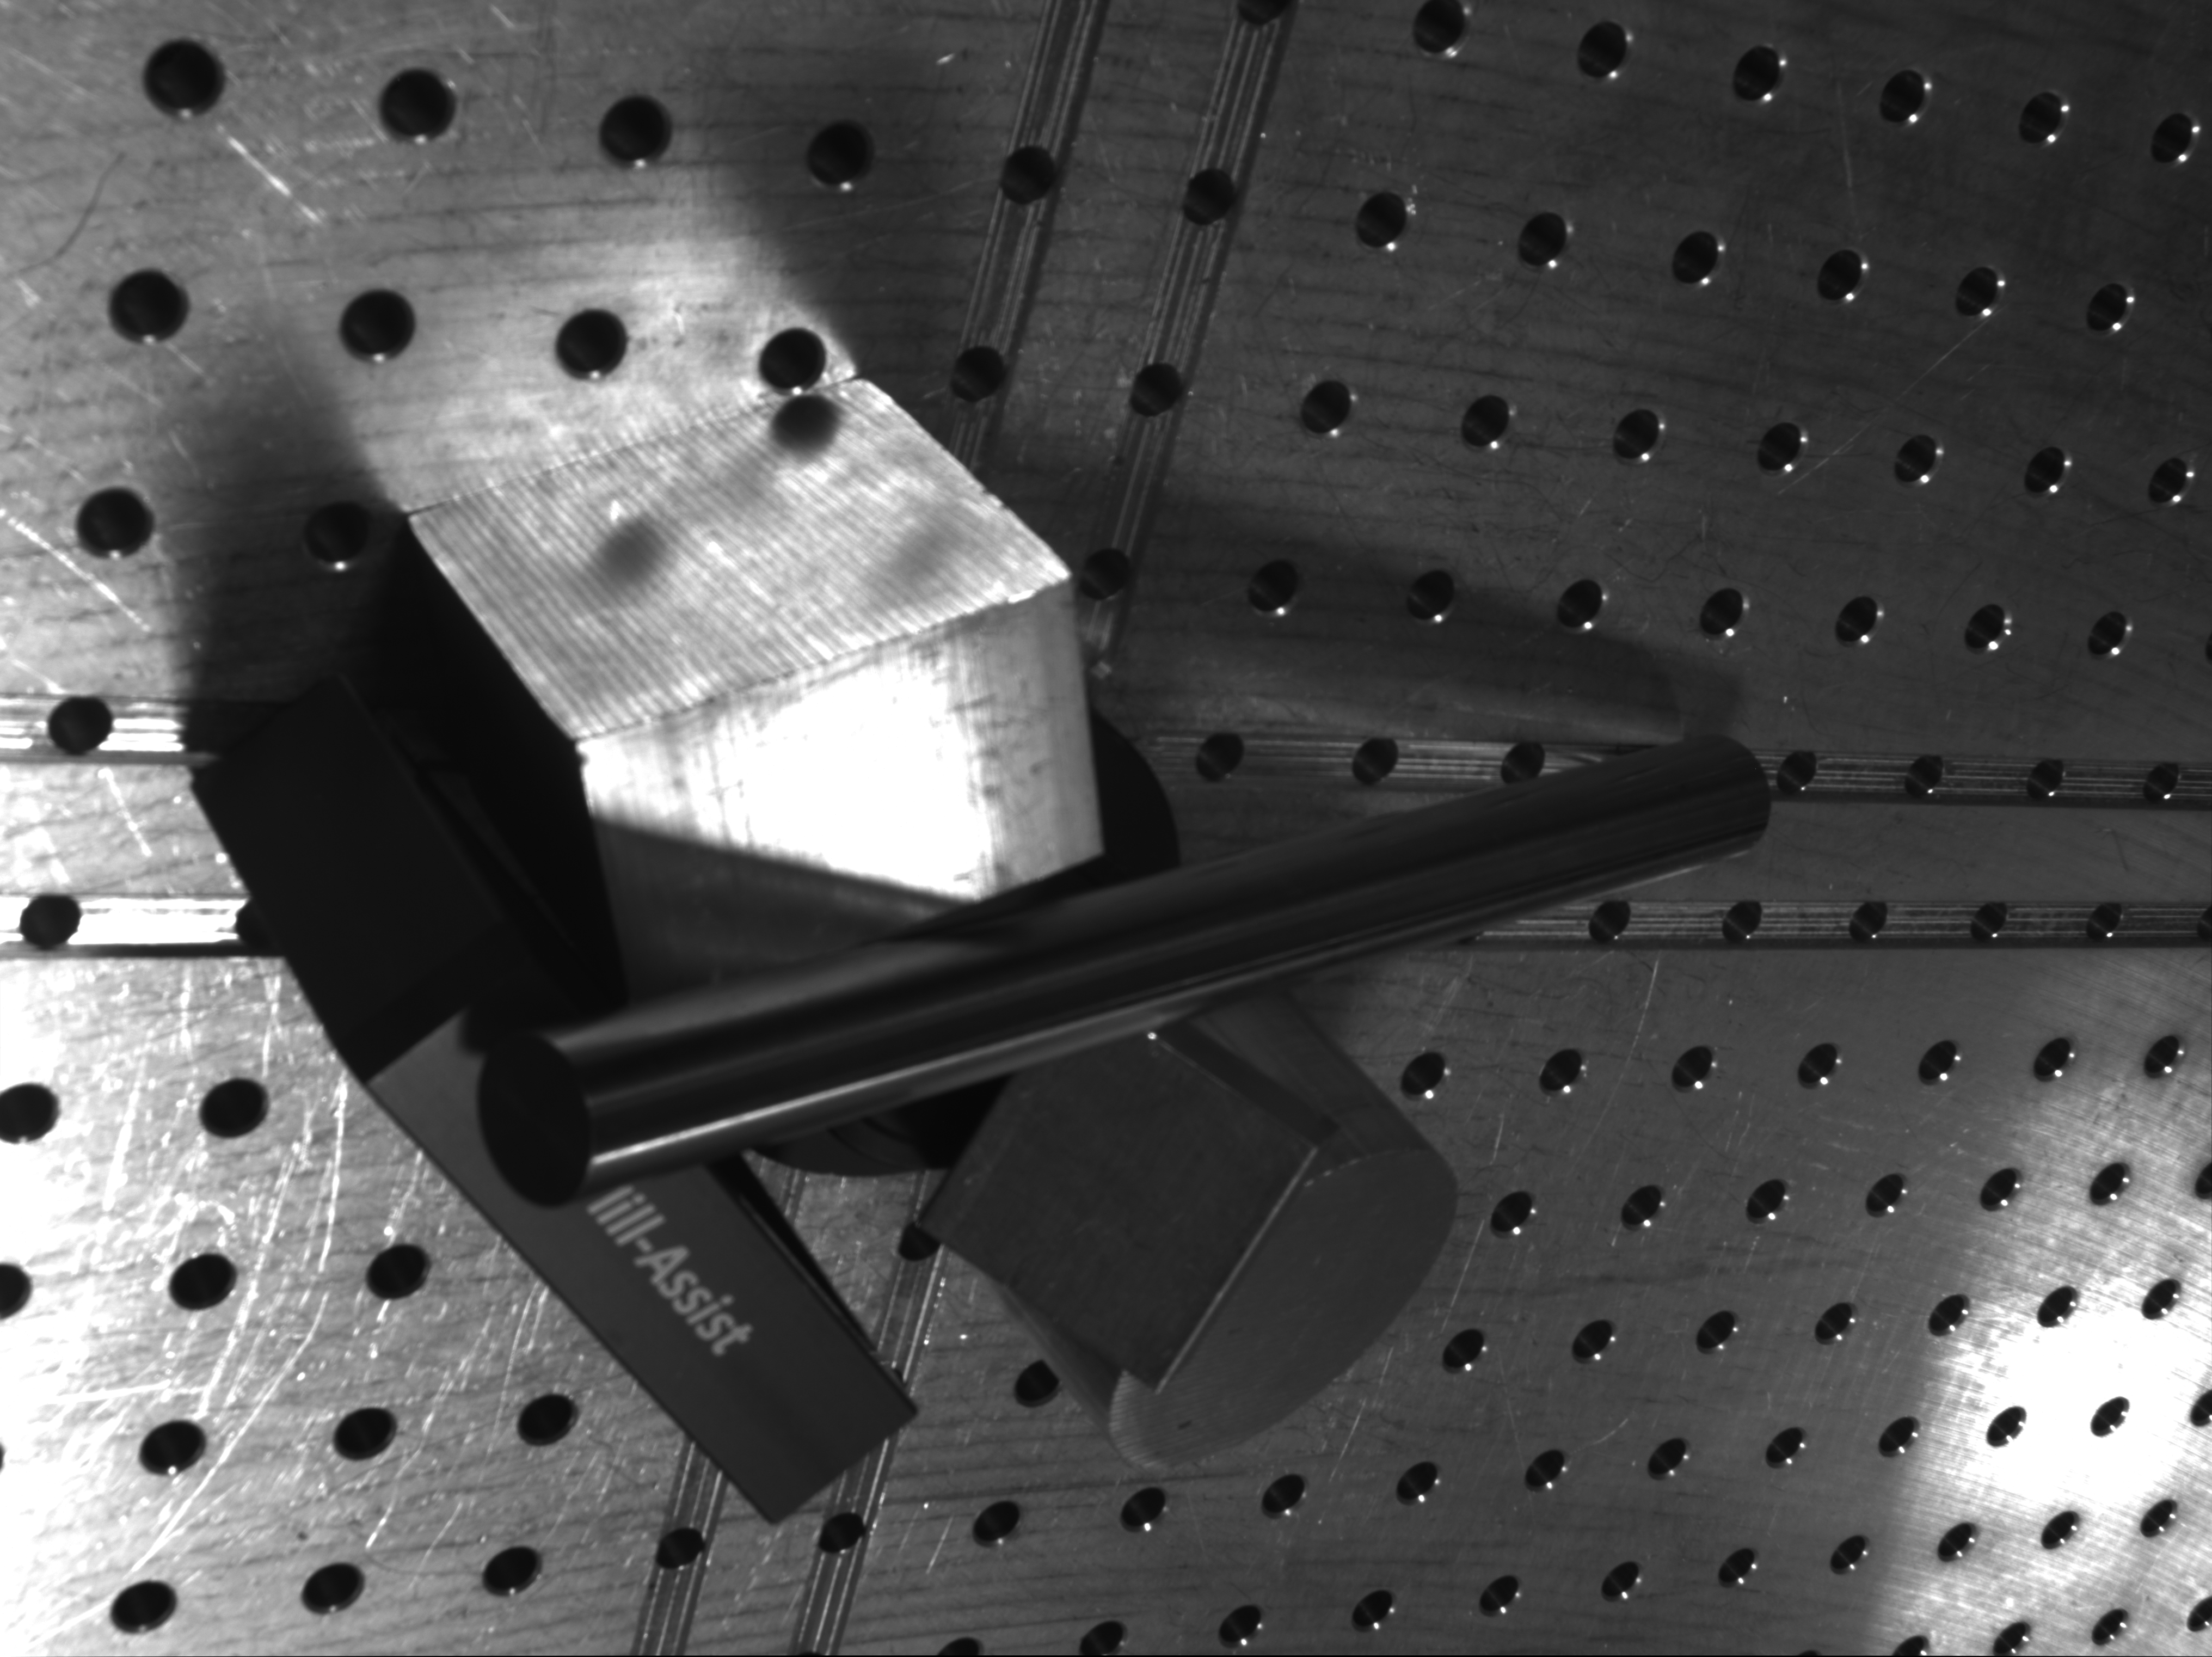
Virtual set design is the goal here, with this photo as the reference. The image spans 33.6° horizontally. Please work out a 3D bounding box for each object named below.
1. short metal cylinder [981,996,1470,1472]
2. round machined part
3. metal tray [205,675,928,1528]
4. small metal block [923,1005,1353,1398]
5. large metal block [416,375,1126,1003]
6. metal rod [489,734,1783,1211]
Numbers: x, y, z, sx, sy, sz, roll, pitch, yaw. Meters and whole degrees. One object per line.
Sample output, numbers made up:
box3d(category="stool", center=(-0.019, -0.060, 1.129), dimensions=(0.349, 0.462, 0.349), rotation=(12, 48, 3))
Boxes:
box3d(category="short metal cylinder", center=(0.021, 0.073, 0.679), dimensions=(0.080, 0.050, 0.080), rotation=(-30, 147, -21))
box3d(category="round machined part", center=(-0.029, 0.019, 0.641), dimensions=(0.098, 0.042, 0.098), rotation=(-15, 125, -22))
box3d(category="metal tray", center=(-0.085, 0.045, 0.588), dimensions=(0.030, 0.090, 0.130), rotation=(-37, 130, -5))
box3d(category="small metal block", center=(0.006, 0.059, 0.620), dimensions=(0.050, 0.050, 0.025), rotation=(-58, 171, 10))
box3d(category="large metal block", center=(-0.053, -0.022, 0.572), dimensions=(0.080, 0.080, 0.050), rotation=(-20, 126, -19))
box3d(category="metal rod", center=(0.023, 0.017, 0.616), dimensions=(0.301, 0.025, 0.025), rotation=(-13, 126, -47))
